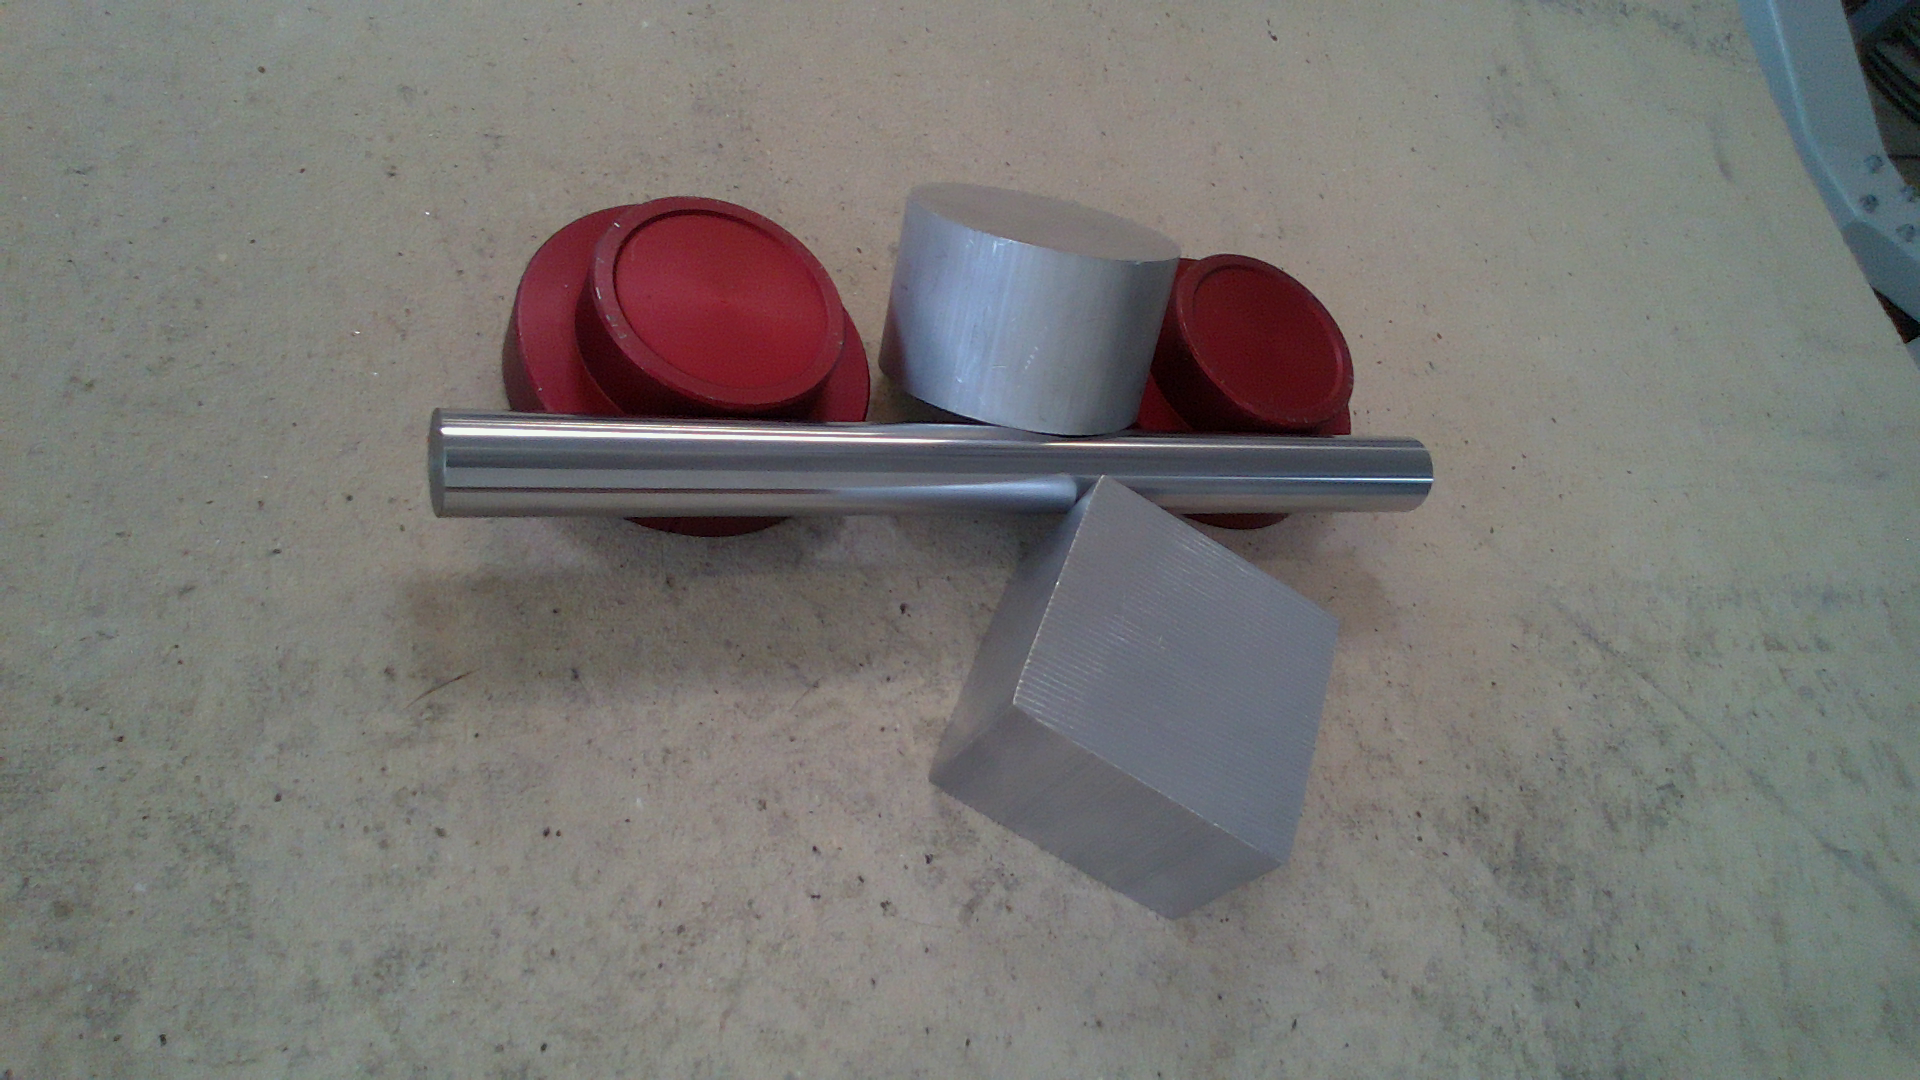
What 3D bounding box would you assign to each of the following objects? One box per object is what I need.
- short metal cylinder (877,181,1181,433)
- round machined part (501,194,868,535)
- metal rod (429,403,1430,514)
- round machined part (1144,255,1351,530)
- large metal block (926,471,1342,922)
[{"bbox_3d":[0.019,-0.070,0.403,0.080,0.050,0.080,11,23,-4],"label":"short metal cylinder"},{"bbox_3d":[-0.070,-0.054,0.373,0.098,0.042,0.098,14,56,-21],"label":"round machined part"},{"bbox_3d":[0.014,-0.020,0.382,0.301,0.025,0.025,-1,62,-29],"label":"metal rod"},{"bbox_3d":[0.091,-0.056,0.462,0.098,0.042,0.098,14,56,-21],"label":"round machined part"},{"bbox_3d":[0.049,0.042,0.371,0.080,0.050,0.080,31,52,-8],"label":"large metal block"}]
